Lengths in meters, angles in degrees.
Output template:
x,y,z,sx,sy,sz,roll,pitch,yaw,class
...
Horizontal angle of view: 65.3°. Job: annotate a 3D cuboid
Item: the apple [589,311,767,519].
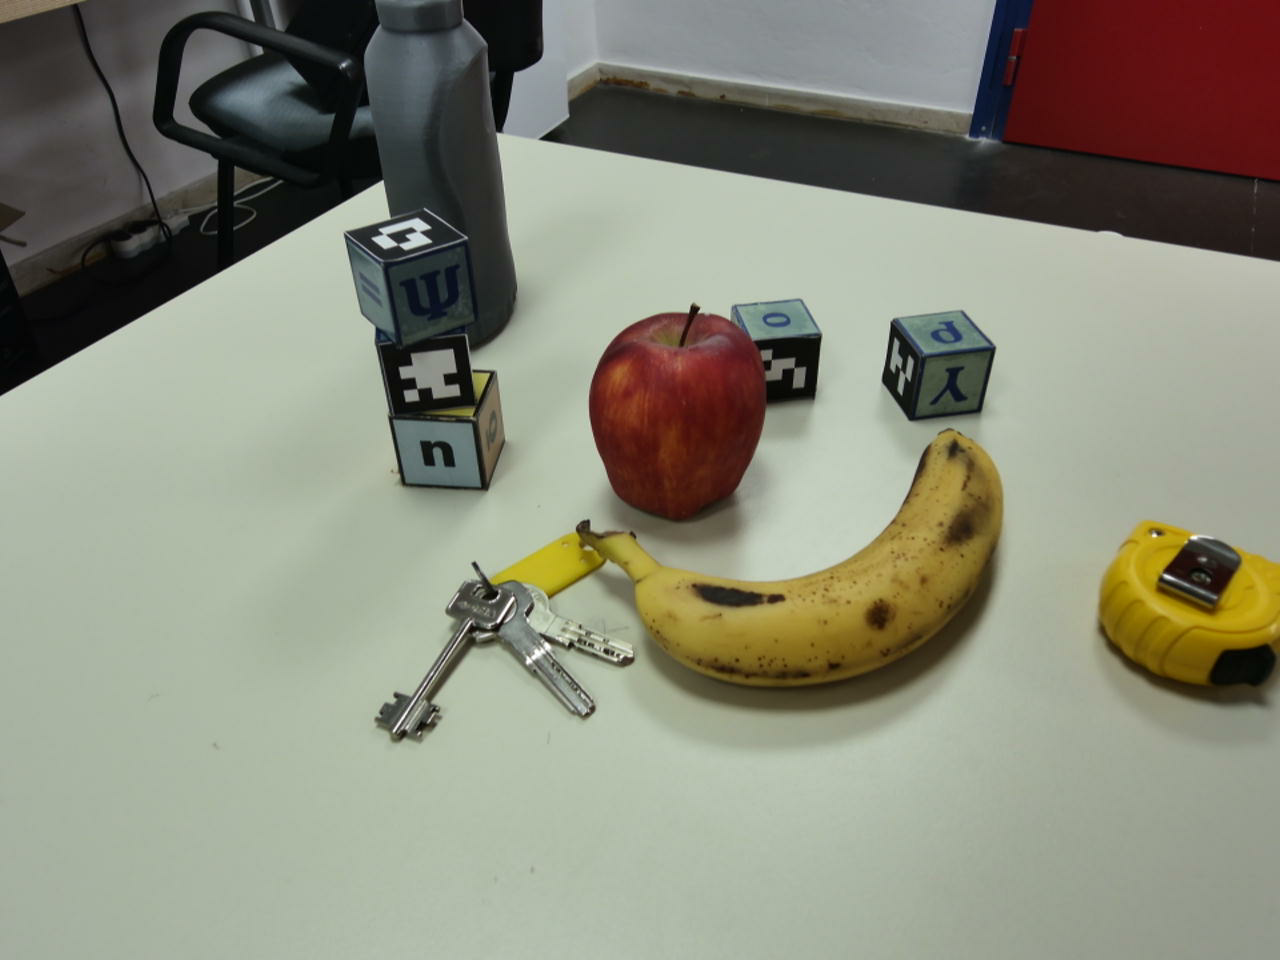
x,y,z,sx,sy,sz,roll,pitch,yaw,class
0.017,-0.034,0.429,0.083,0.090,0.083,0,37,0,apple
